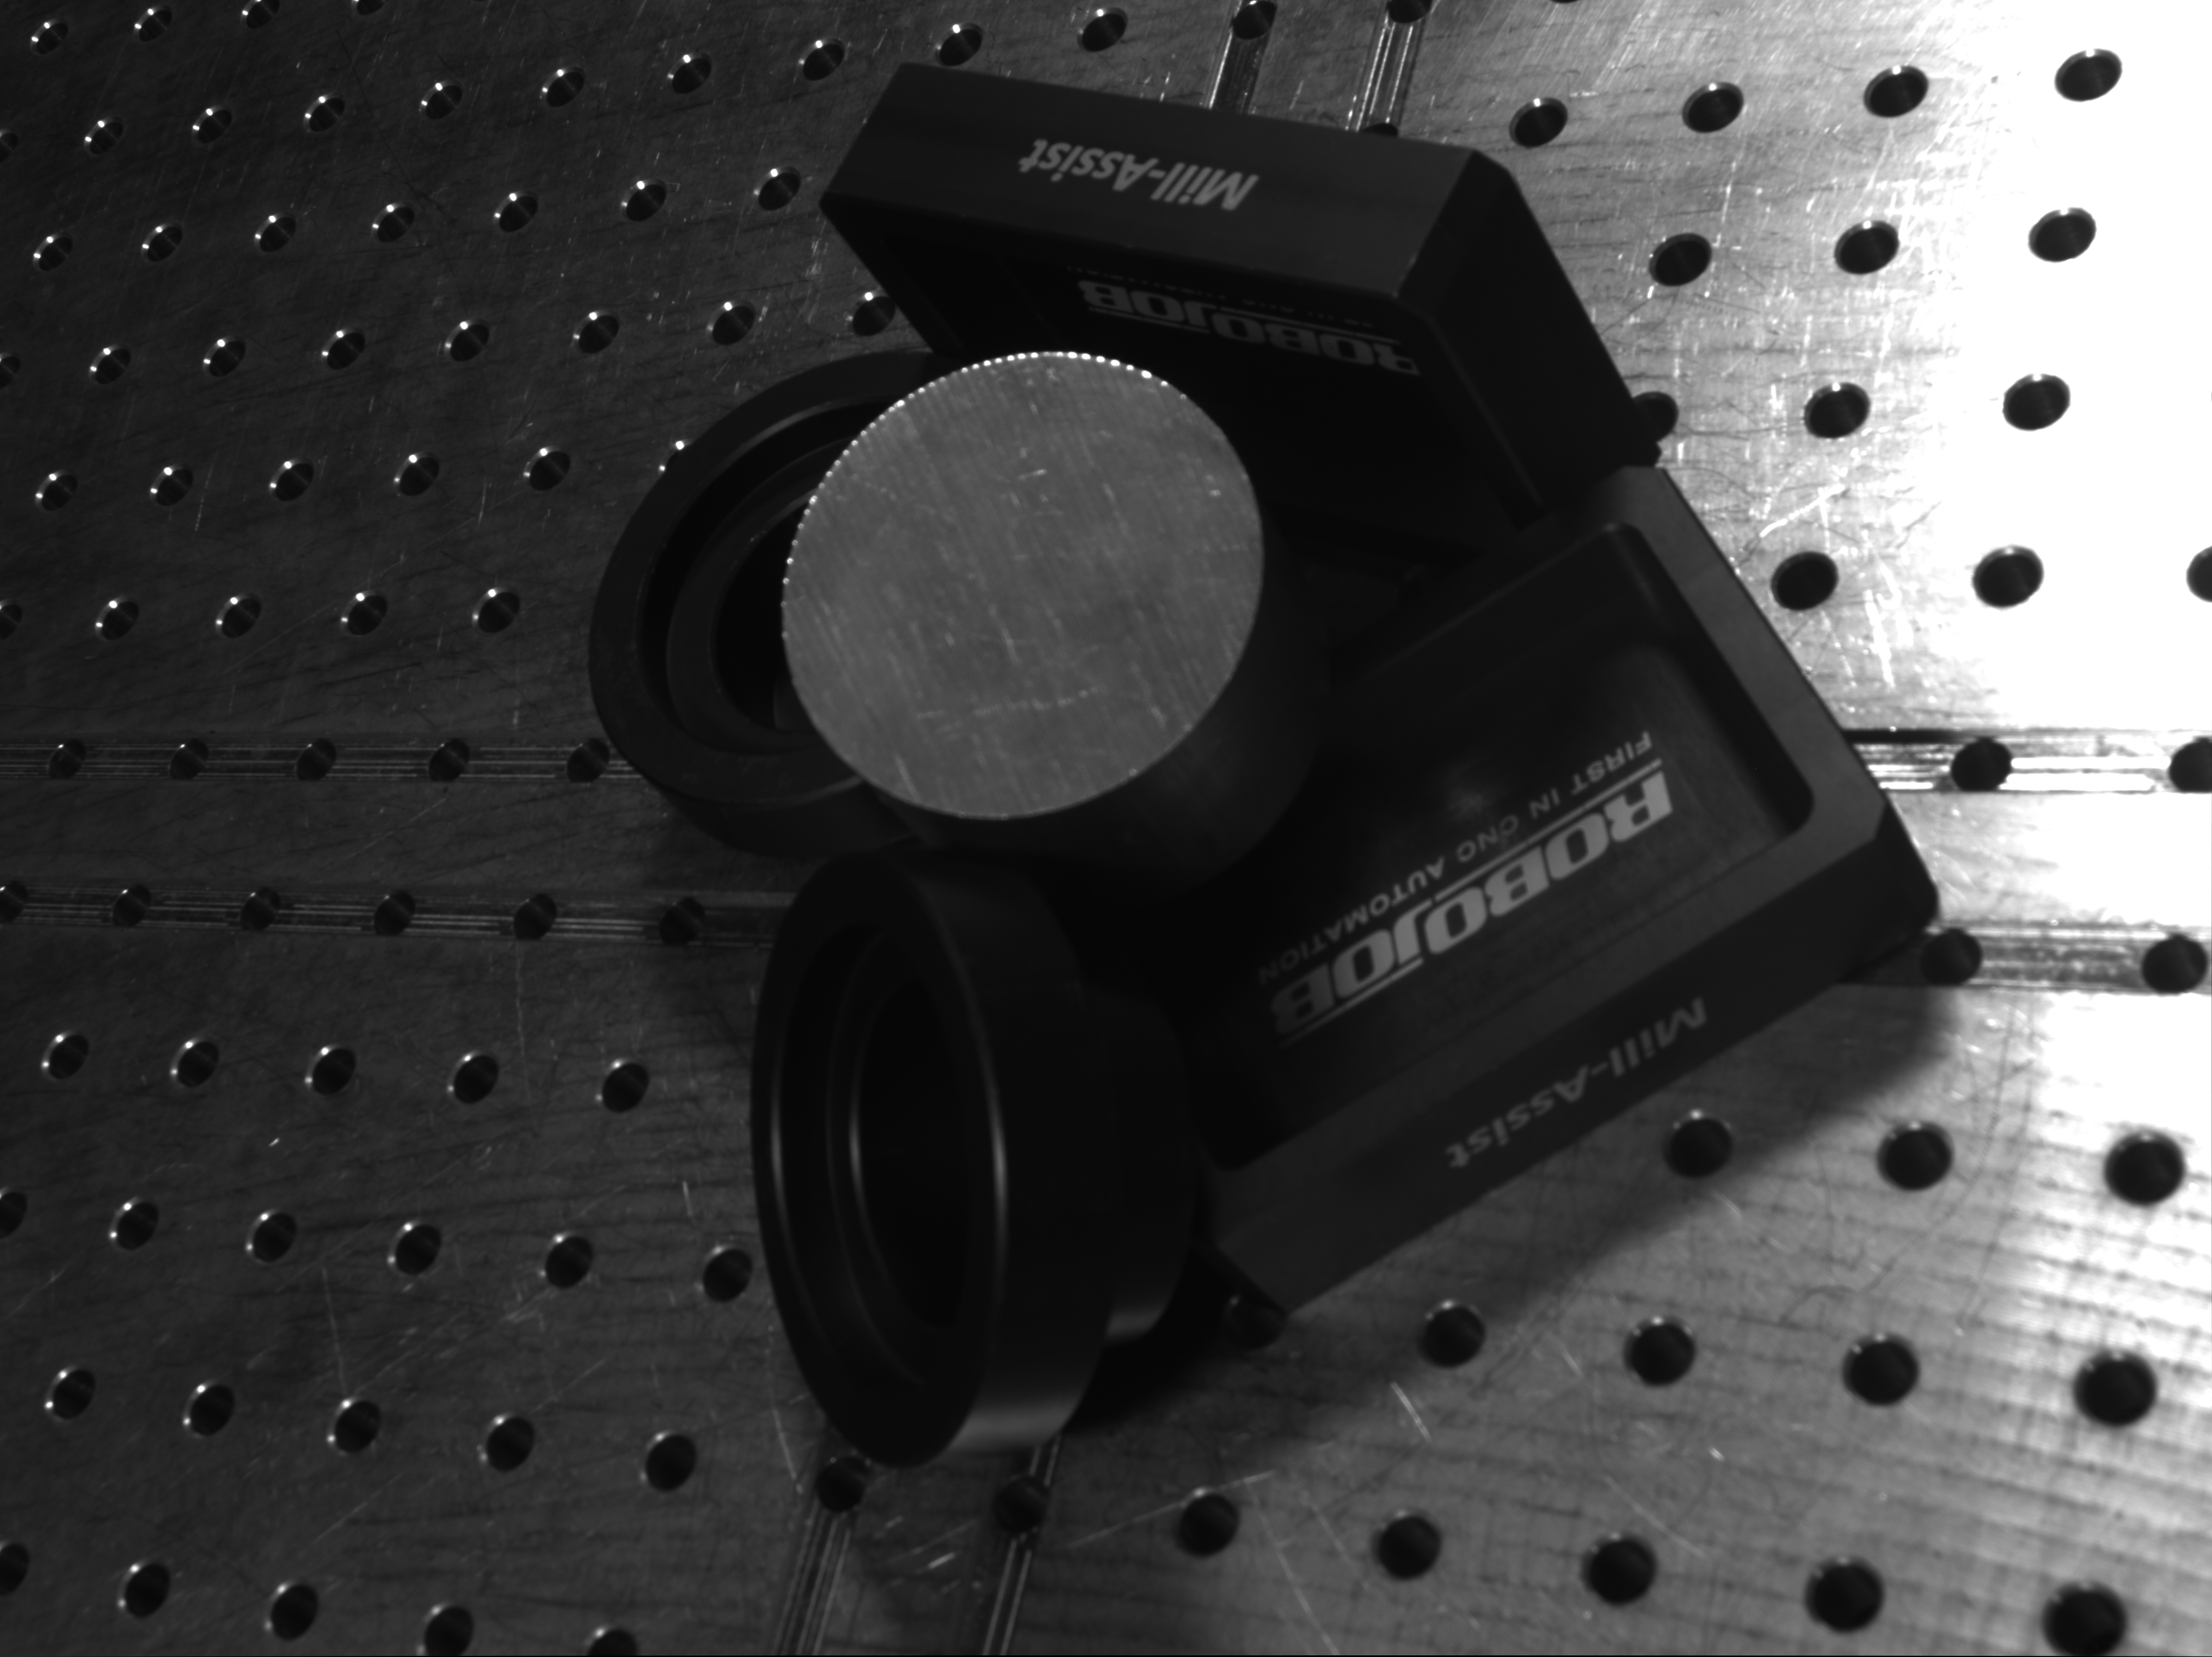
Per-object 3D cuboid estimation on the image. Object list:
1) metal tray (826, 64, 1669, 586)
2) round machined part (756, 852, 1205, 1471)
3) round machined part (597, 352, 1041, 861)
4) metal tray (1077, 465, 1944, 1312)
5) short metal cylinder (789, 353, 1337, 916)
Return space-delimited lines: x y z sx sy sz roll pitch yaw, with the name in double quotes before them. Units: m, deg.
"metal tray" 0.025 -0.088 0.646 0.130 0.090 0.030 16 70 35
"round machined part" -0.019 0.052 0.592 0.098 0.042 0.098 7 98 62
"round machined part" -0.042 -0.037 0.682 0.098 0.042 0.098 -13 56 21
"metal tray" 0.059 0.009 0.606 0.130 0.030 0.090 -32 51 7
"short metal cylinder" -0.006 -0.031 0.606 0.080 0.050 0.080 -5 69 14
